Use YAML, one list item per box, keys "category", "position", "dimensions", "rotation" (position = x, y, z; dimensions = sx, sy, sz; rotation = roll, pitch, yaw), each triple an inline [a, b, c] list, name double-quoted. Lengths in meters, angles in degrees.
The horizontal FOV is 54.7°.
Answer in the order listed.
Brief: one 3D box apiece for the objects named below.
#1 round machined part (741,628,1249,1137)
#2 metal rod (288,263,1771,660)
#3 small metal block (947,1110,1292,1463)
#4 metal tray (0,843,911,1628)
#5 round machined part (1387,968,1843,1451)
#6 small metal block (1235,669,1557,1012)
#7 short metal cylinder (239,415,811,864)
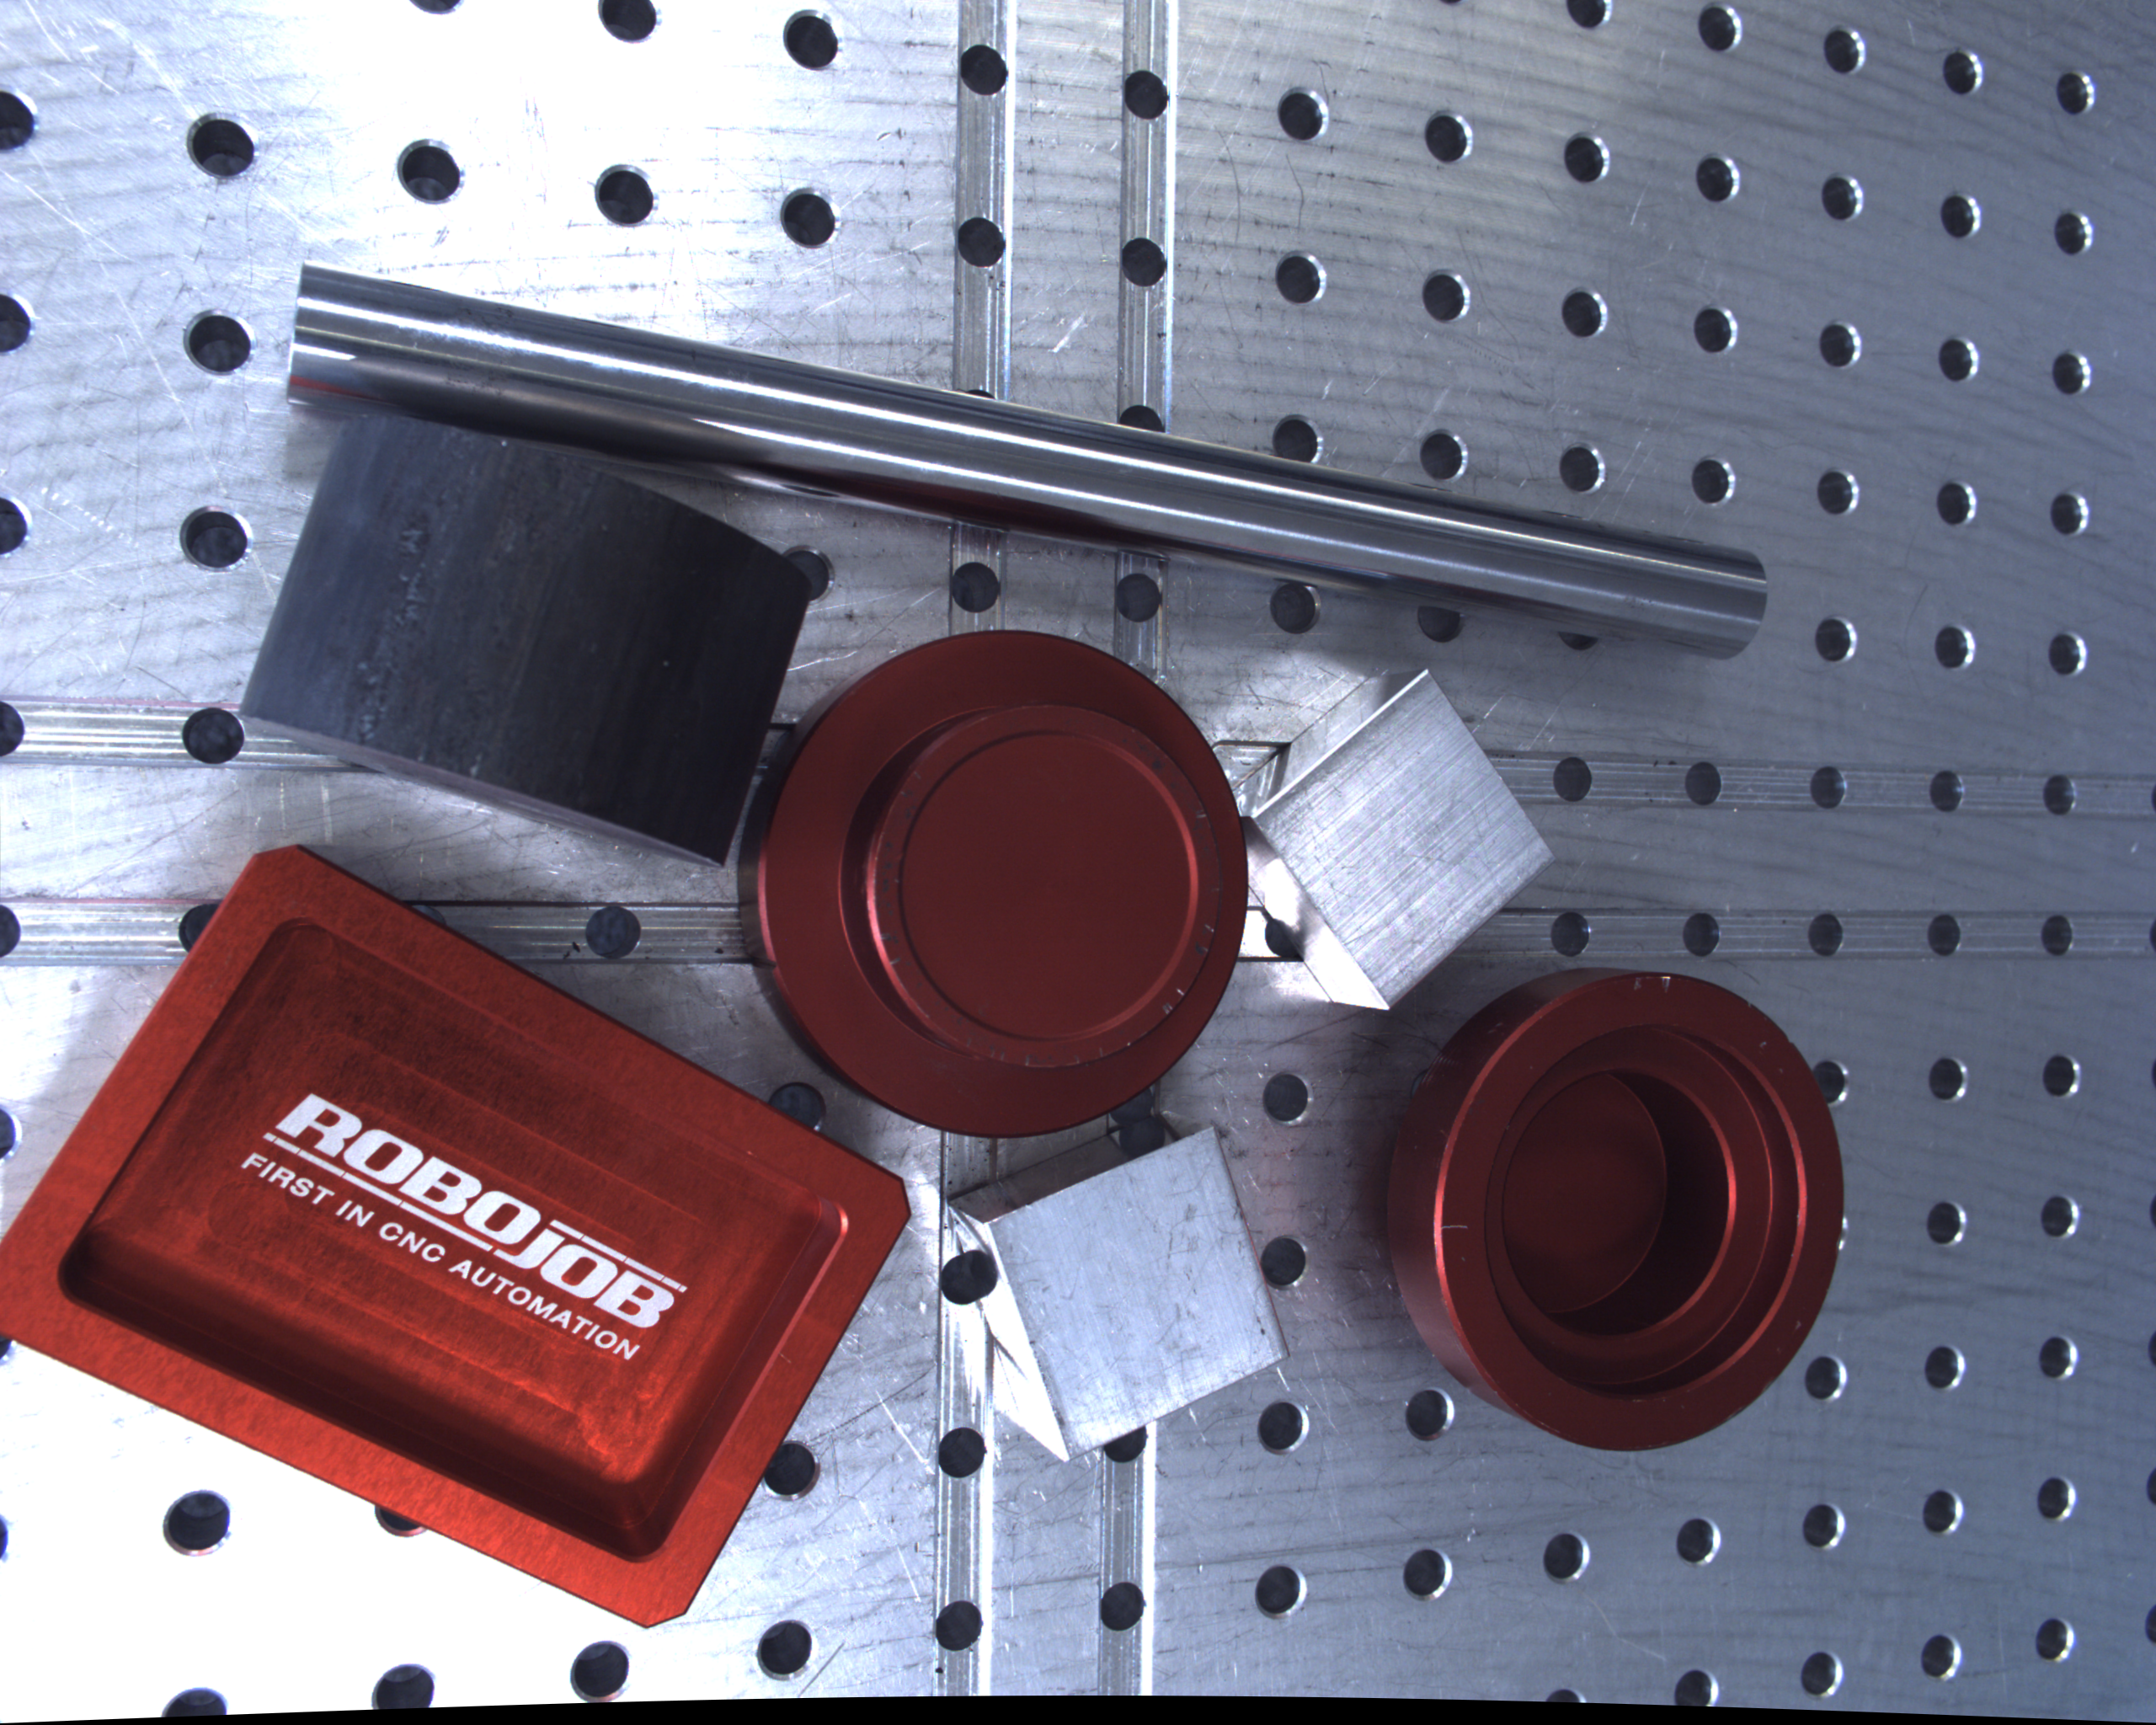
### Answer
- category: "round machined part"
  position: [-0.012, 0.004, 0.398]
  dimensions: [0.099, 0.042, 0.097]
  rotation: [1, 87, -20]
- category: "metal rod"
  position: [0.005, -0.075, 0.414]
  dimensions: [0.302, 0.025, 0.025]
  rotation: [7, 88, -20]
- category: "small metal block"
  position: [0.008, 0.083, 0.416]
  dimensions: [0.050, 0.025, 0.050]
  rotation: [-20, 97, -19]
- category: "metal tray"
  position: [-0.108, 0.066, 0.370]
  dimensions: [0.130, 0.030, 0.090]
  rotation: [32, 80, -17]
- category: "round machined part"
  position: [0.109, 0.071, 0.444]
  dimensions: [0.099, 0.042, 0.097]
  rotation: [0, 90, -20]
- category: "small metal block"
  position: [0.063, -0.005, 0.436]
  dimensions: [0.050, 0.025, 0.050]
  rotation: [-40, 103, -16]
- category: "short metal cylinder"
  position: [-0.091, -0.035, 0.349]
  dimensions: [0.081, 0.080, 0.050]
  rotation: [19, 84, -19]
